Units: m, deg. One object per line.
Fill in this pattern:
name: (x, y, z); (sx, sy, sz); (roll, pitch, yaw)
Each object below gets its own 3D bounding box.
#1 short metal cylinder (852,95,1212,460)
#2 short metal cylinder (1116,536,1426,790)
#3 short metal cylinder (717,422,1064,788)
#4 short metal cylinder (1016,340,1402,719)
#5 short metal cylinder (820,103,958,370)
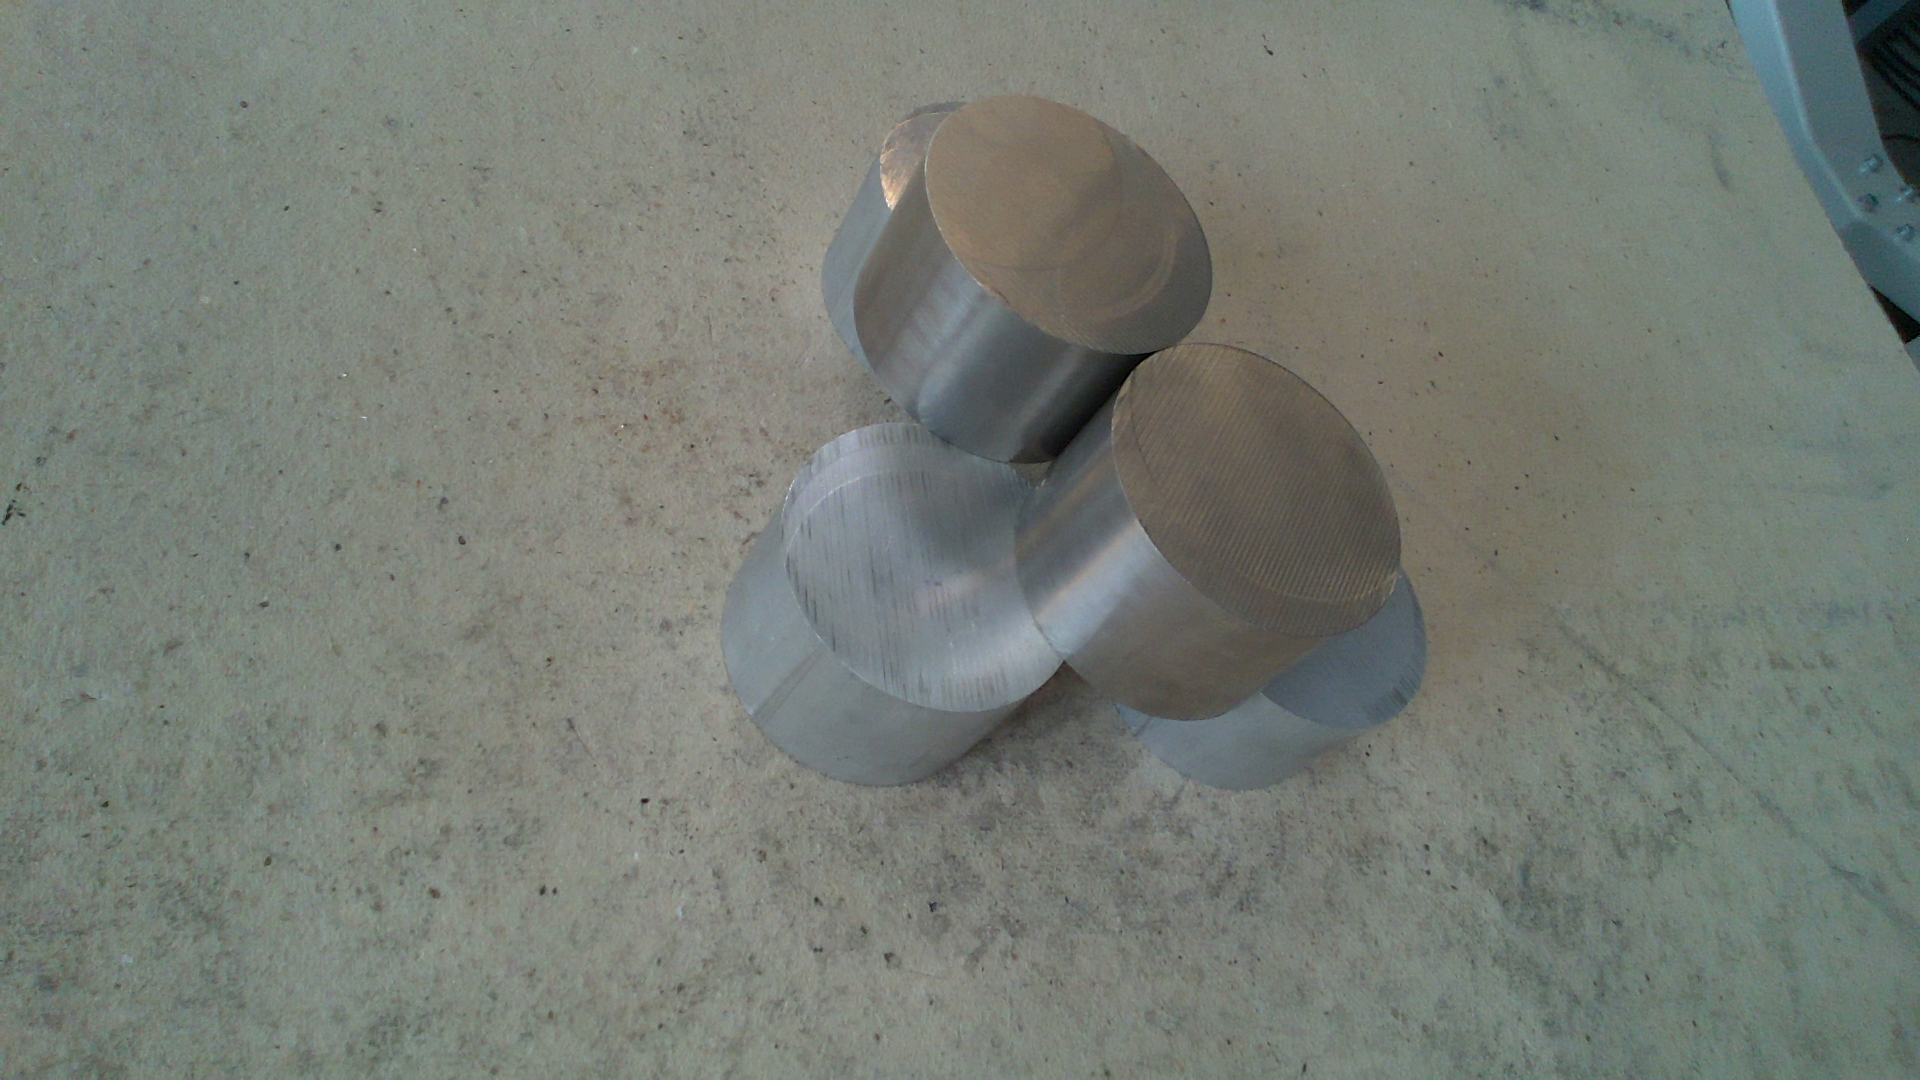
short metal cylinder: (0.018, -0.068, 0.360); (0.080, 0.050, 0.080); (13, 56, -20)
short metal cylinder: (0.088, 0.027, 0.404); (0.080, 0.050, 0.080); (14, 56, -21)
short metal cylinder: (-0.016, 0.017, 0.354); (0.080, 0.050, 0.080); (14, 56, -21)
short metal cylinder: (0.061, -0.002, 0.342); (0.080, 0.050, 0.080); (14, 55, -21)
short metal cylinder: (0.003, -0.088, 0.429); (0.080, 0.050, 0.080); (14, 56, -21)
